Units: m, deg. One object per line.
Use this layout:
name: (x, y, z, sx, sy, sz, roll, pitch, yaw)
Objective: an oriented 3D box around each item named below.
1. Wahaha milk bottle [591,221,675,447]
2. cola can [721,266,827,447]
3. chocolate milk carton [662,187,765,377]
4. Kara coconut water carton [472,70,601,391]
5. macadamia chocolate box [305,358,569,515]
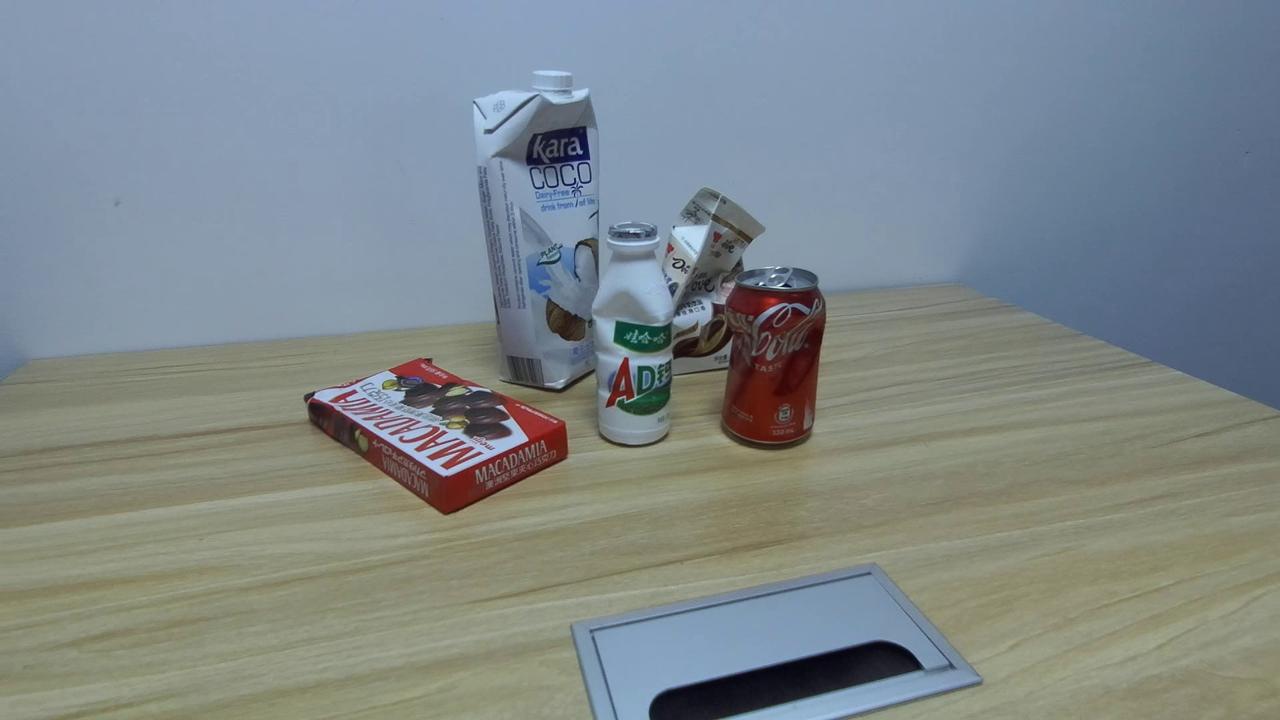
Wahaha milk bottle: (-0.005, -0.016, 0.472, 0.056, 0.147, 0.056, 2, 22, 0)
cola can: (0.090, -0.003, 0.483, 0.066, 0.117, 0.066, -8, 22, -20)
chocolate milk carton: (0.058, -0.067, 0.601, 0.089, 0.155, 0.076, 6, 24, -24)
Kara coconut water carton: (-0.075, -0.099, 0.558, 0.069, 0.238, 0.115, 9, 20, 29)
macadamia chocolate box: (-0.144, 0.043, 0.492, 0.182, 0.028, 0.106, 18, 28, 39)
